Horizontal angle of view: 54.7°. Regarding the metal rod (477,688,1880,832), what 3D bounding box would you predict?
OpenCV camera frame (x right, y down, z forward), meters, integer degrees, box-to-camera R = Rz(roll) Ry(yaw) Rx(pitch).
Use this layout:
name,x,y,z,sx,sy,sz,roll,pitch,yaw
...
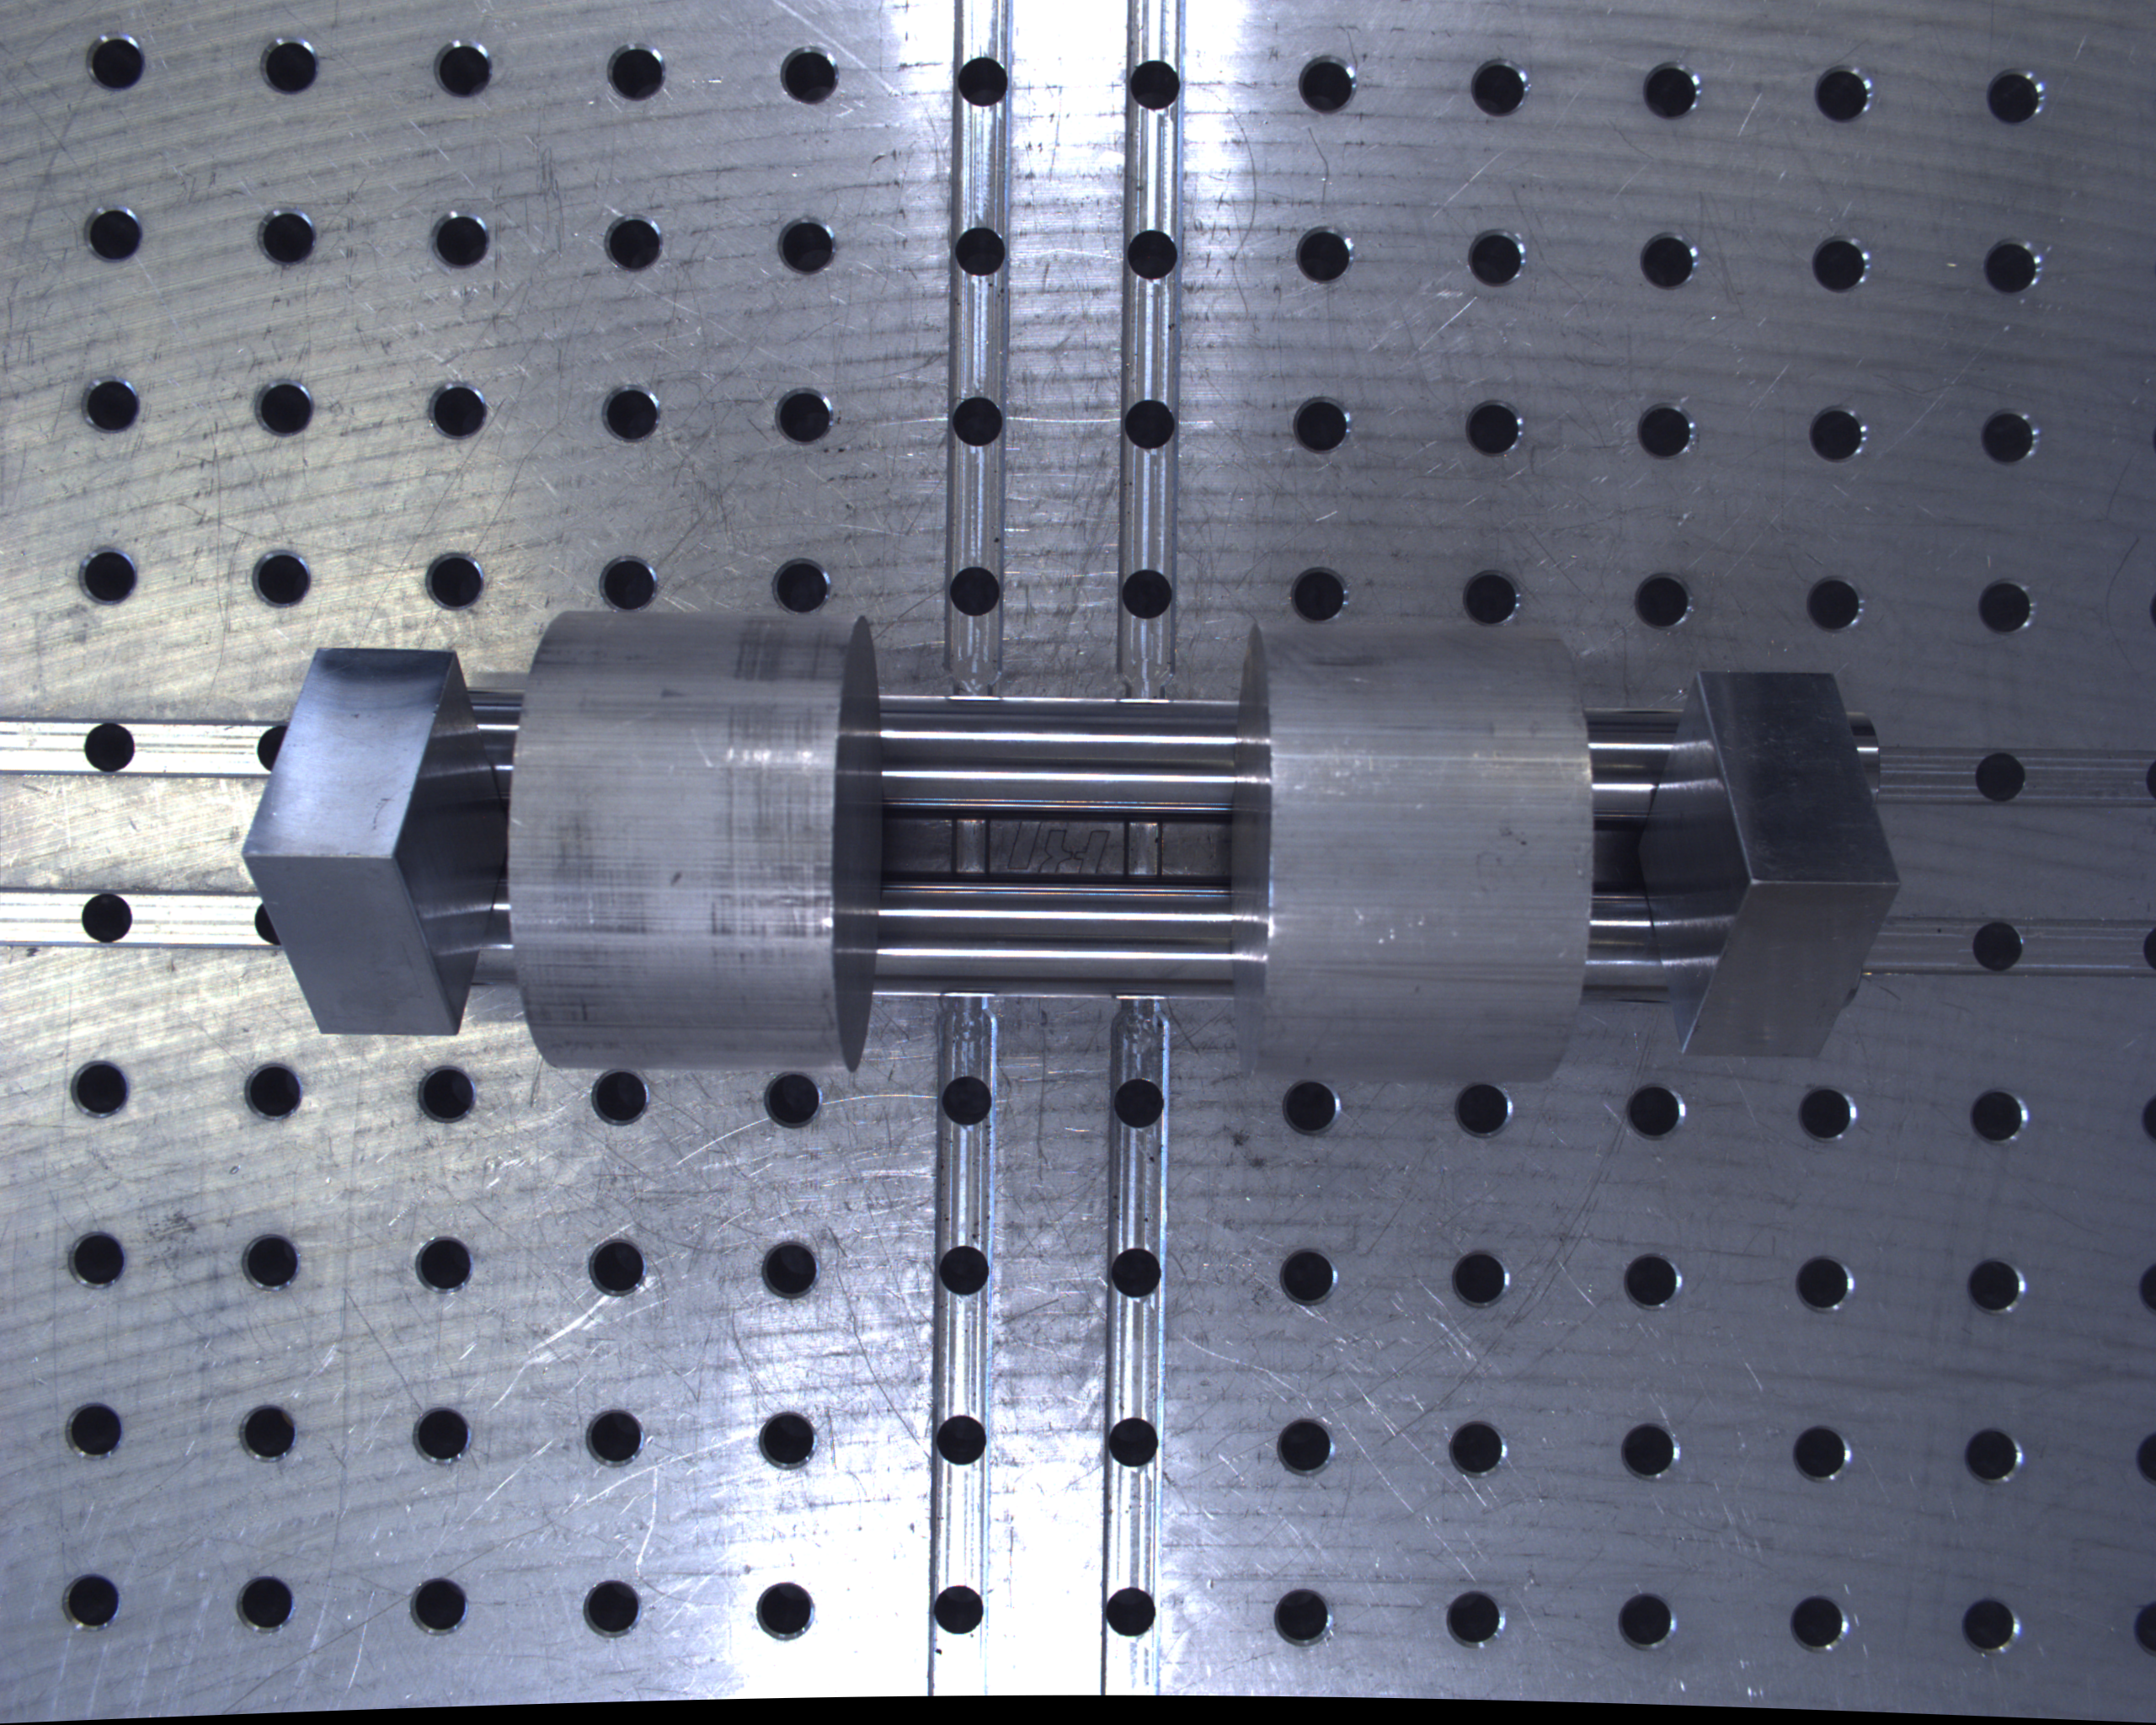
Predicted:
name,x,y,z,sx,sy,sz,roll,pitch,yaw
metal rod,0.004,-0.020,0.413,0.302,0.025,0.025,1,90,0

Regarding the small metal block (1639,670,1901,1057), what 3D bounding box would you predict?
name,x,y,z,sx,sy,sz,roll,pitch,yaw
small metal block,0.123,0.000,0.379,0.025,0.050,0.050,1,49,0

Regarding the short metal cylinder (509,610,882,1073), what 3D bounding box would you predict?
name,x,y,z,sx,sy,sz,roll,pitch,yaw
short metal cylinder,-0.063,-0.004,0.363,0.050,0.080,0.079,1,90,0

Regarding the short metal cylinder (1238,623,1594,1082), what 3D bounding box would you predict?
name,x,y,z,sx,sy,sz,roll,pitch,yaw
short metal cylinder,0.055,-0.002,0.364,0.050,0.080,0.079,1,90,0

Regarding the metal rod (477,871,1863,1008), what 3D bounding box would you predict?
name,x,y,z,sx,sy,sz,roll,pitch,yaw
metal rod,0.001,0.015,0.413,0.302,0.025,0.025,1,90,0

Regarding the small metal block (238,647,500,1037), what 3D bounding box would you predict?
name,x,y,z,sx,sy,sz,roll,pitch,yaw
small metal block,-0.125,-0.004,0.377,0.025,0.050,0.050,1,48,0
